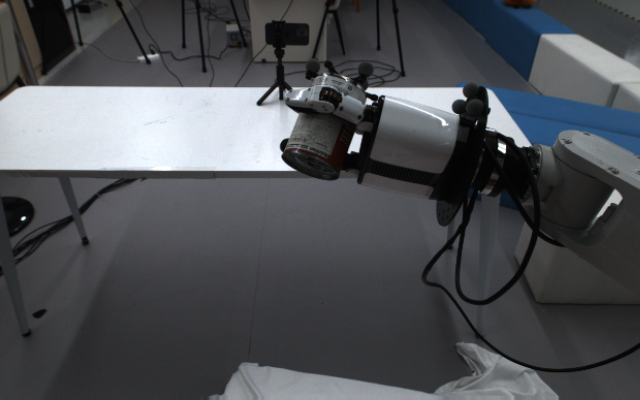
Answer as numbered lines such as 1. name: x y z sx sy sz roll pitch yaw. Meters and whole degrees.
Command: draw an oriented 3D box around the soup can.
1. soup can: 0.007 -0.082 0.547 0.067 0.067 0.101 15 76 18
